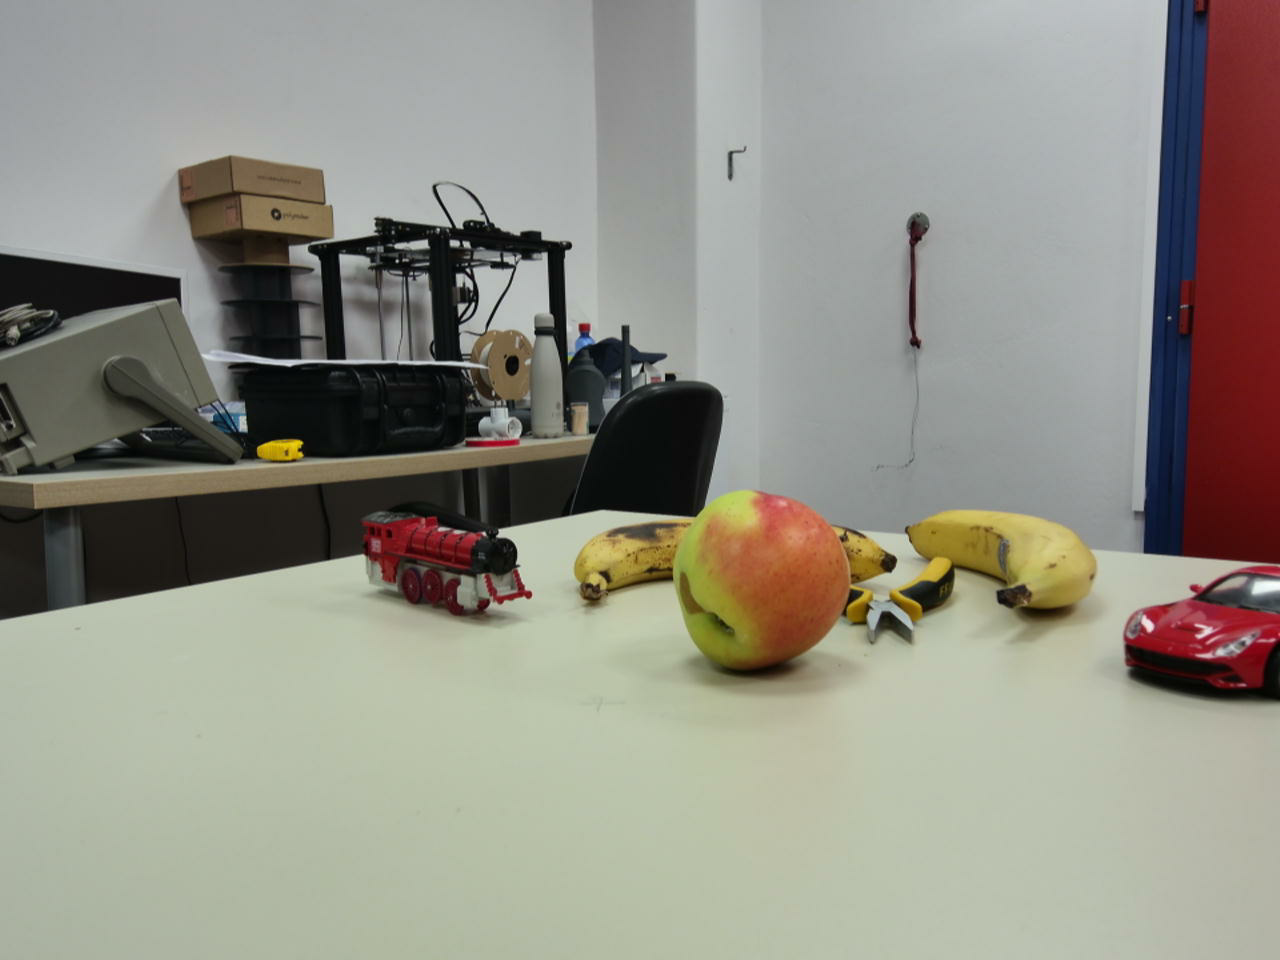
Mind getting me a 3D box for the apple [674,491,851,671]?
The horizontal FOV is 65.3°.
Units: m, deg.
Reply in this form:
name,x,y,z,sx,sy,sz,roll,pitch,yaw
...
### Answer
name,x,y,z,sx,sy,sz,roll,pitch,yaw
apple,0.051,0.044,0.433,0.075,0.074,0.075,0,3,17
